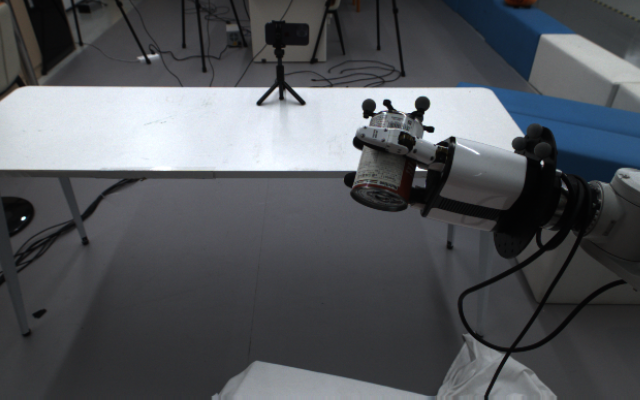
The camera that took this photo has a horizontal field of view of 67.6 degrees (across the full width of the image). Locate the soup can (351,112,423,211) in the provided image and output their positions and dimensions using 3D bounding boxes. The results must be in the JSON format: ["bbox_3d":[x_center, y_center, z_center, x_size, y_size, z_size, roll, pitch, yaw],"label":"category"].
[{"bbox_3d":[0.082,-0.047,0.573,0.067,0.067,0.101,11,71,12],"label":"soup can"}]
